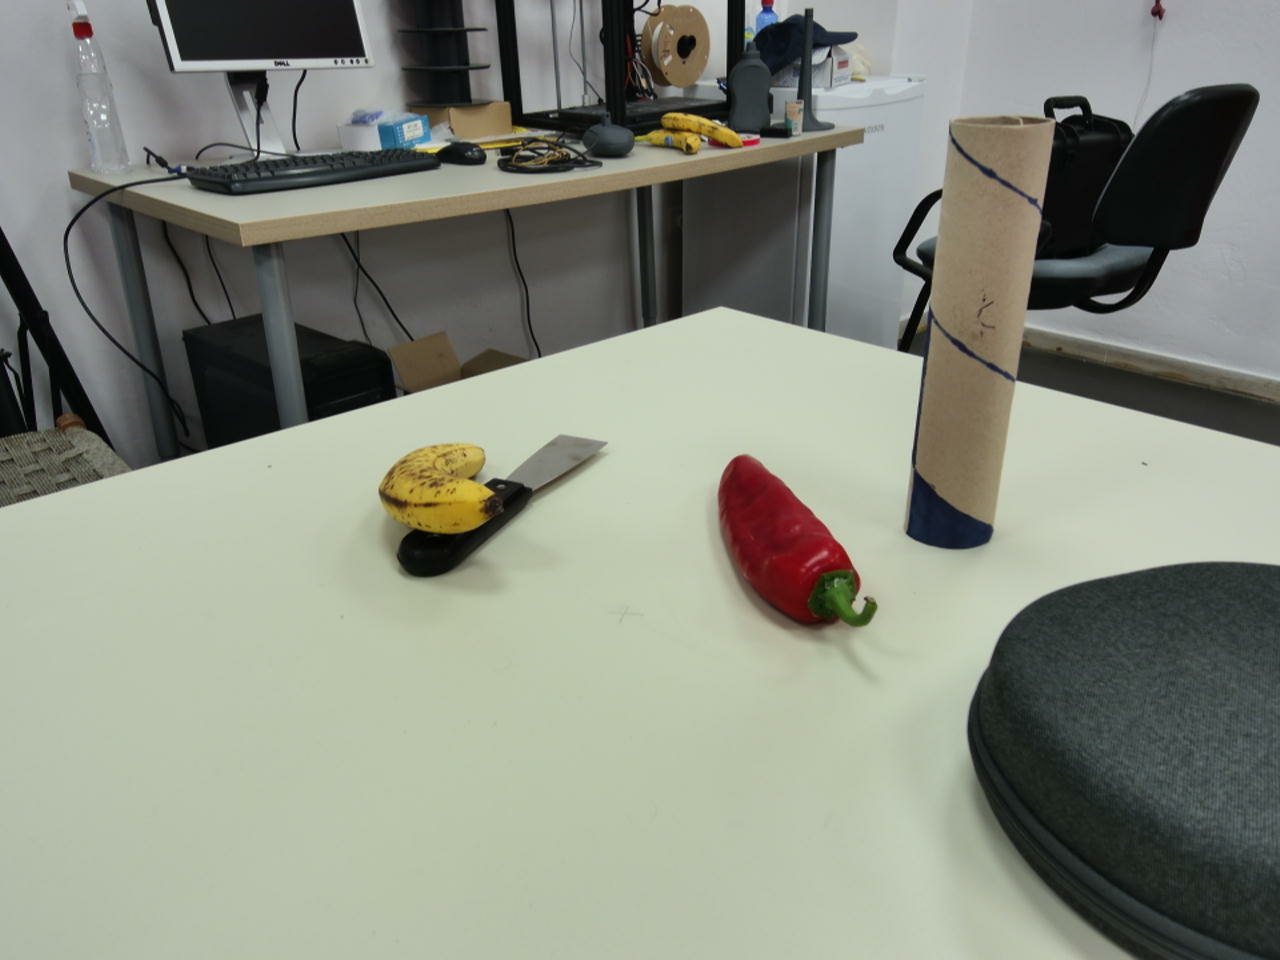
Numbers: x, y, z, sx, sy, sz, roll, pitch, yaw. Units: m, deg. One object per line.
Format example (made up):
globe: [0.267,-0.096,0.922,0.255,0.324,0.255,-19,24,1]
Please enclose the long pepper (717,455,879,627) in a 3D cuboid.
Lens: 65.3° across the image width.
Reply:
long pepper: [0.074,0.028,0.538,0.050,0.043,0.211,-4,24,-8]
